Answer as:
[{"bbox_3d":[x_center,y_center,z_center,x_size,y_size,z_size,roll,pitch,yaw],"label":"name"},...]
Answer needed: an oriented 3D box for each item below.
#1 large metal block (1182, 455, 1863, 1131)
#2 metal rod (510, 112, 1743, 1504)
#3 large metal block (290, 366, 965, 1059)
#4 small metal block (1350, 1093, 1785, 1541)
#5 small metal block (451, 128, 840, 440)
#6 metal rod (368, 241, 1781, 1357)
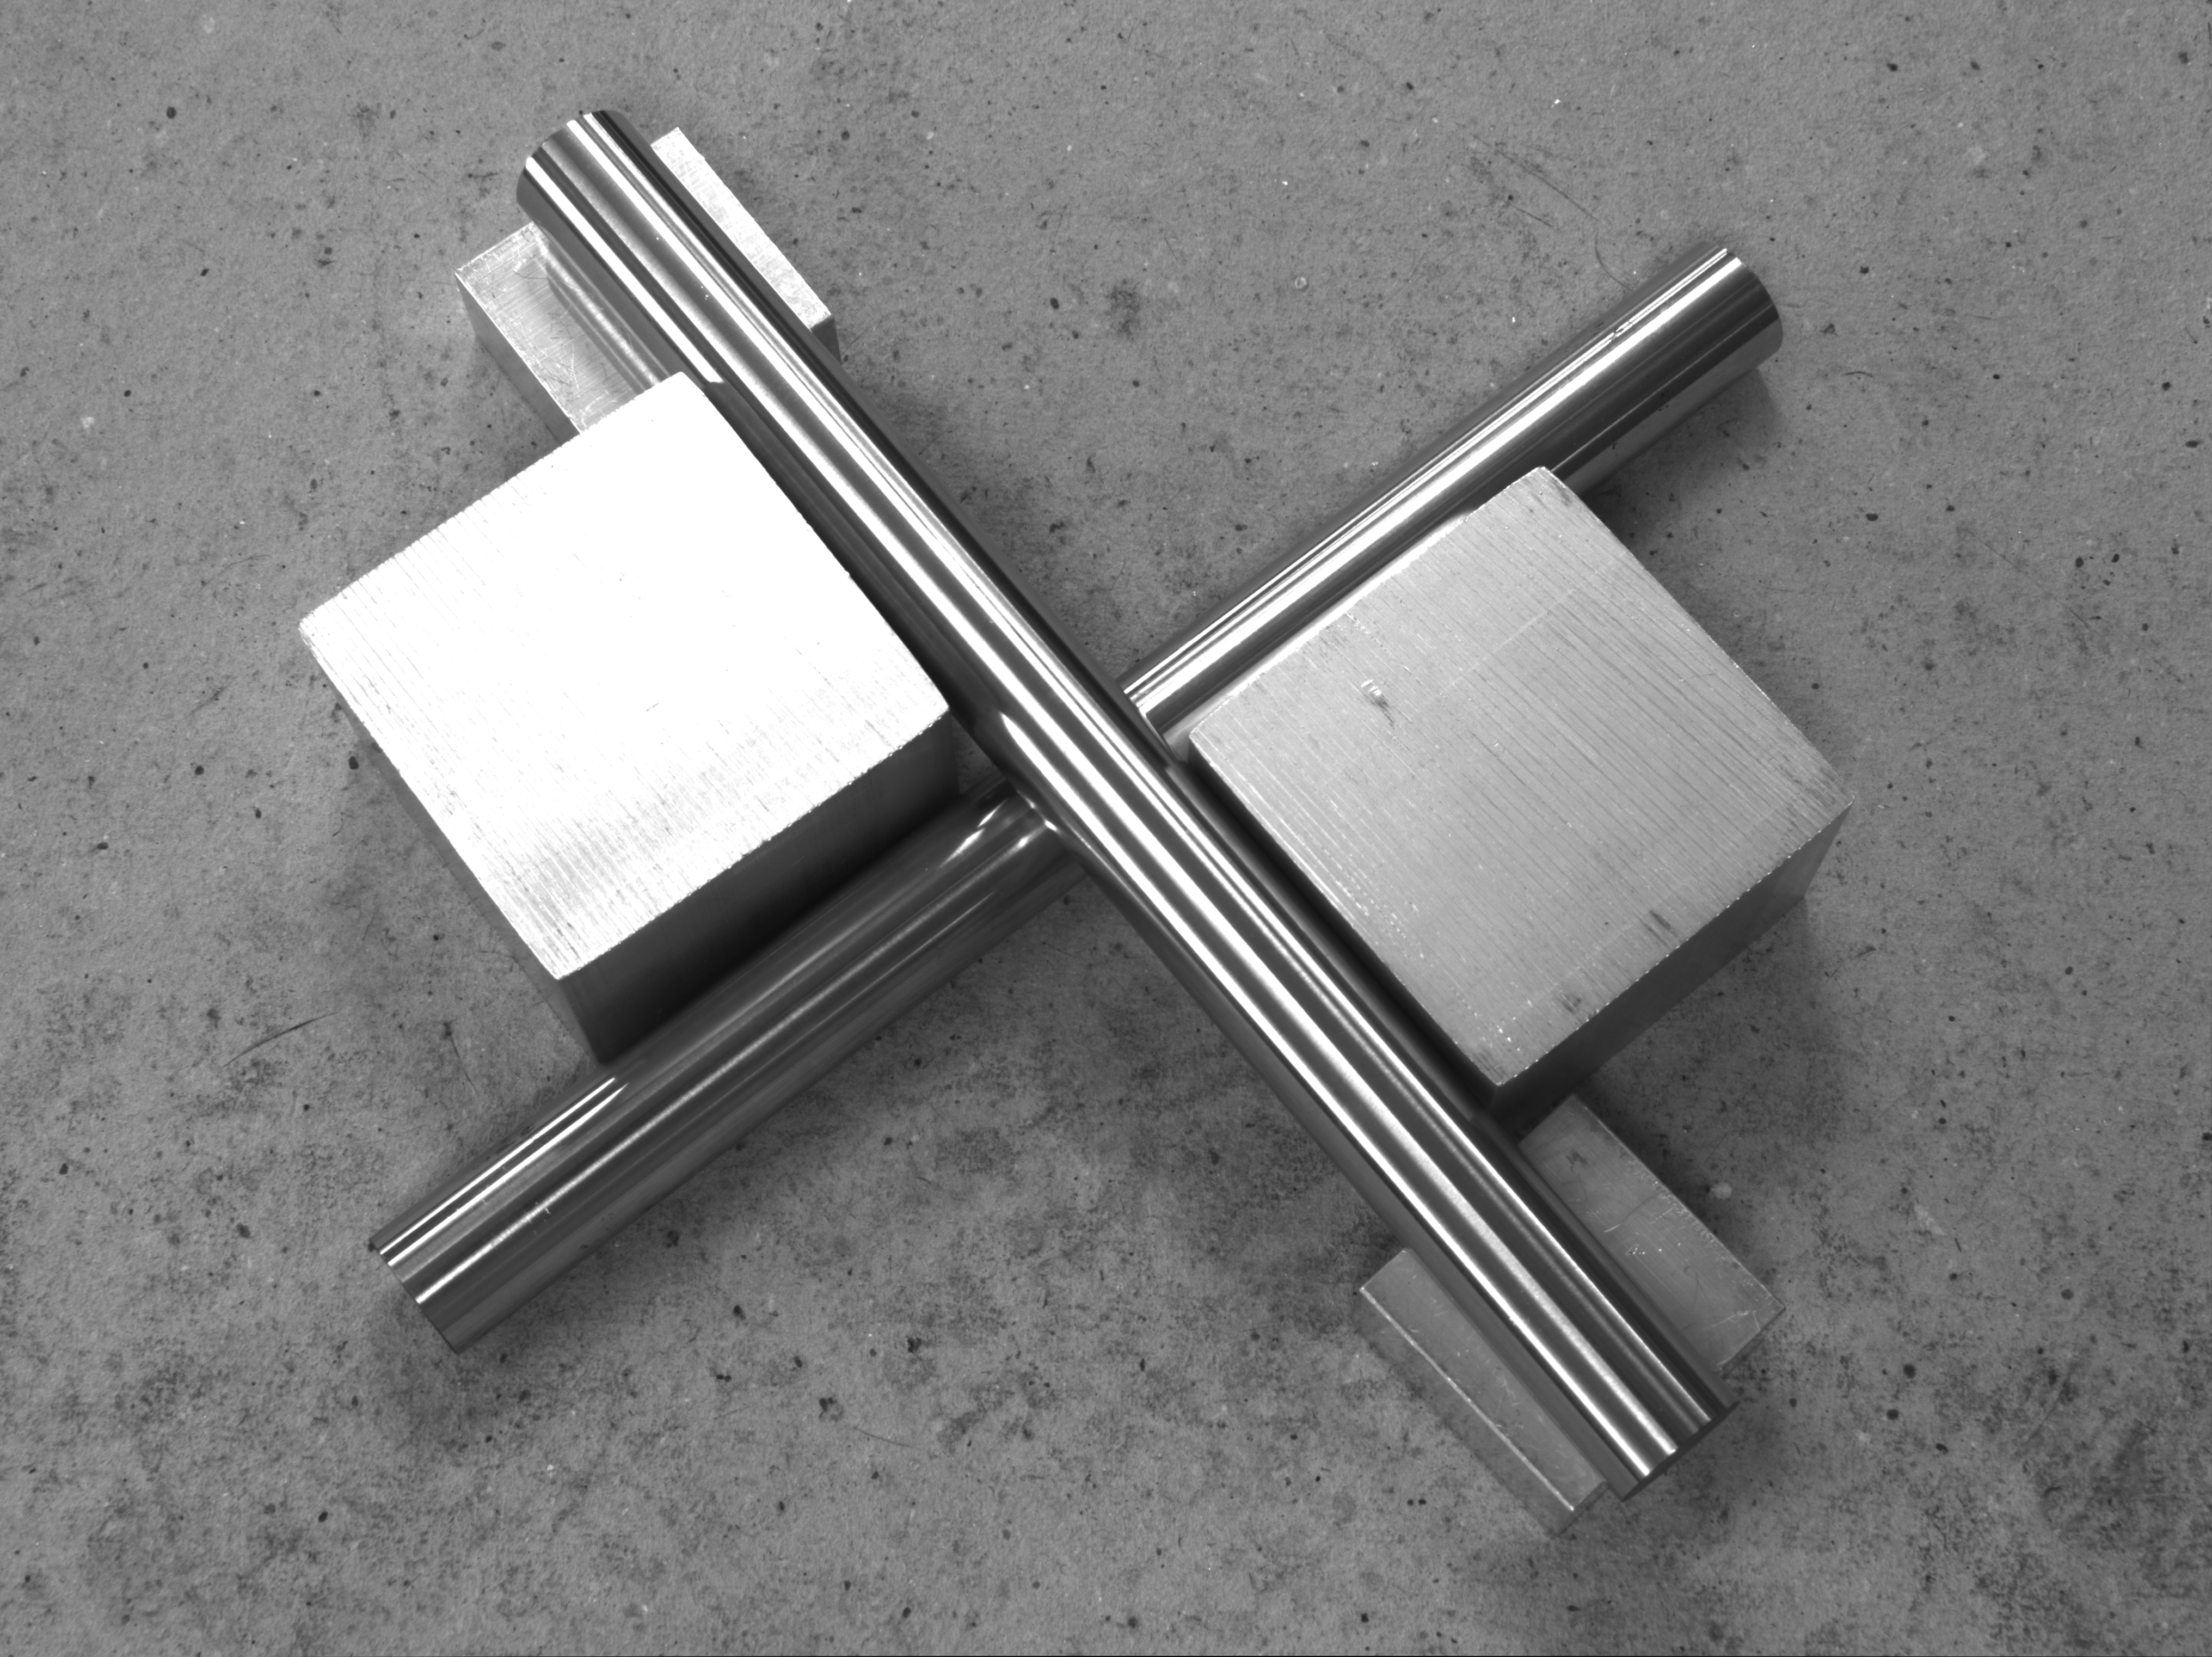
[{"bbox_3d":[0.069,-0.002,0.633,0.080,0.050,0.080,-37,74,-12],"label":"large metal block"},{"bbox_3d":[-0.003,-0.010,0.622,0.025,0.025,0.300,-37,74,-12],"label":"metal rod"},{"bbox_3d":[-0.081,-0.018,0.637,0.080,0.050,0.080,-35,74,-12],"label":"large metal block"},{"bbox_3d":[0.076,0.082,0.616,0.050,0.025,0.050,-41,75,-14],"label":"small metal block"},{"bbox_3d":[-0.085,-0.093,0.681,0.050,0.025,0.050,-36,74,-12],"label":"small metal block"},{"bbox_3d":[0.000,-0.010,0.650,0.300,0.025,0.025,-37,74,-13],"label":"metal rod"}]
